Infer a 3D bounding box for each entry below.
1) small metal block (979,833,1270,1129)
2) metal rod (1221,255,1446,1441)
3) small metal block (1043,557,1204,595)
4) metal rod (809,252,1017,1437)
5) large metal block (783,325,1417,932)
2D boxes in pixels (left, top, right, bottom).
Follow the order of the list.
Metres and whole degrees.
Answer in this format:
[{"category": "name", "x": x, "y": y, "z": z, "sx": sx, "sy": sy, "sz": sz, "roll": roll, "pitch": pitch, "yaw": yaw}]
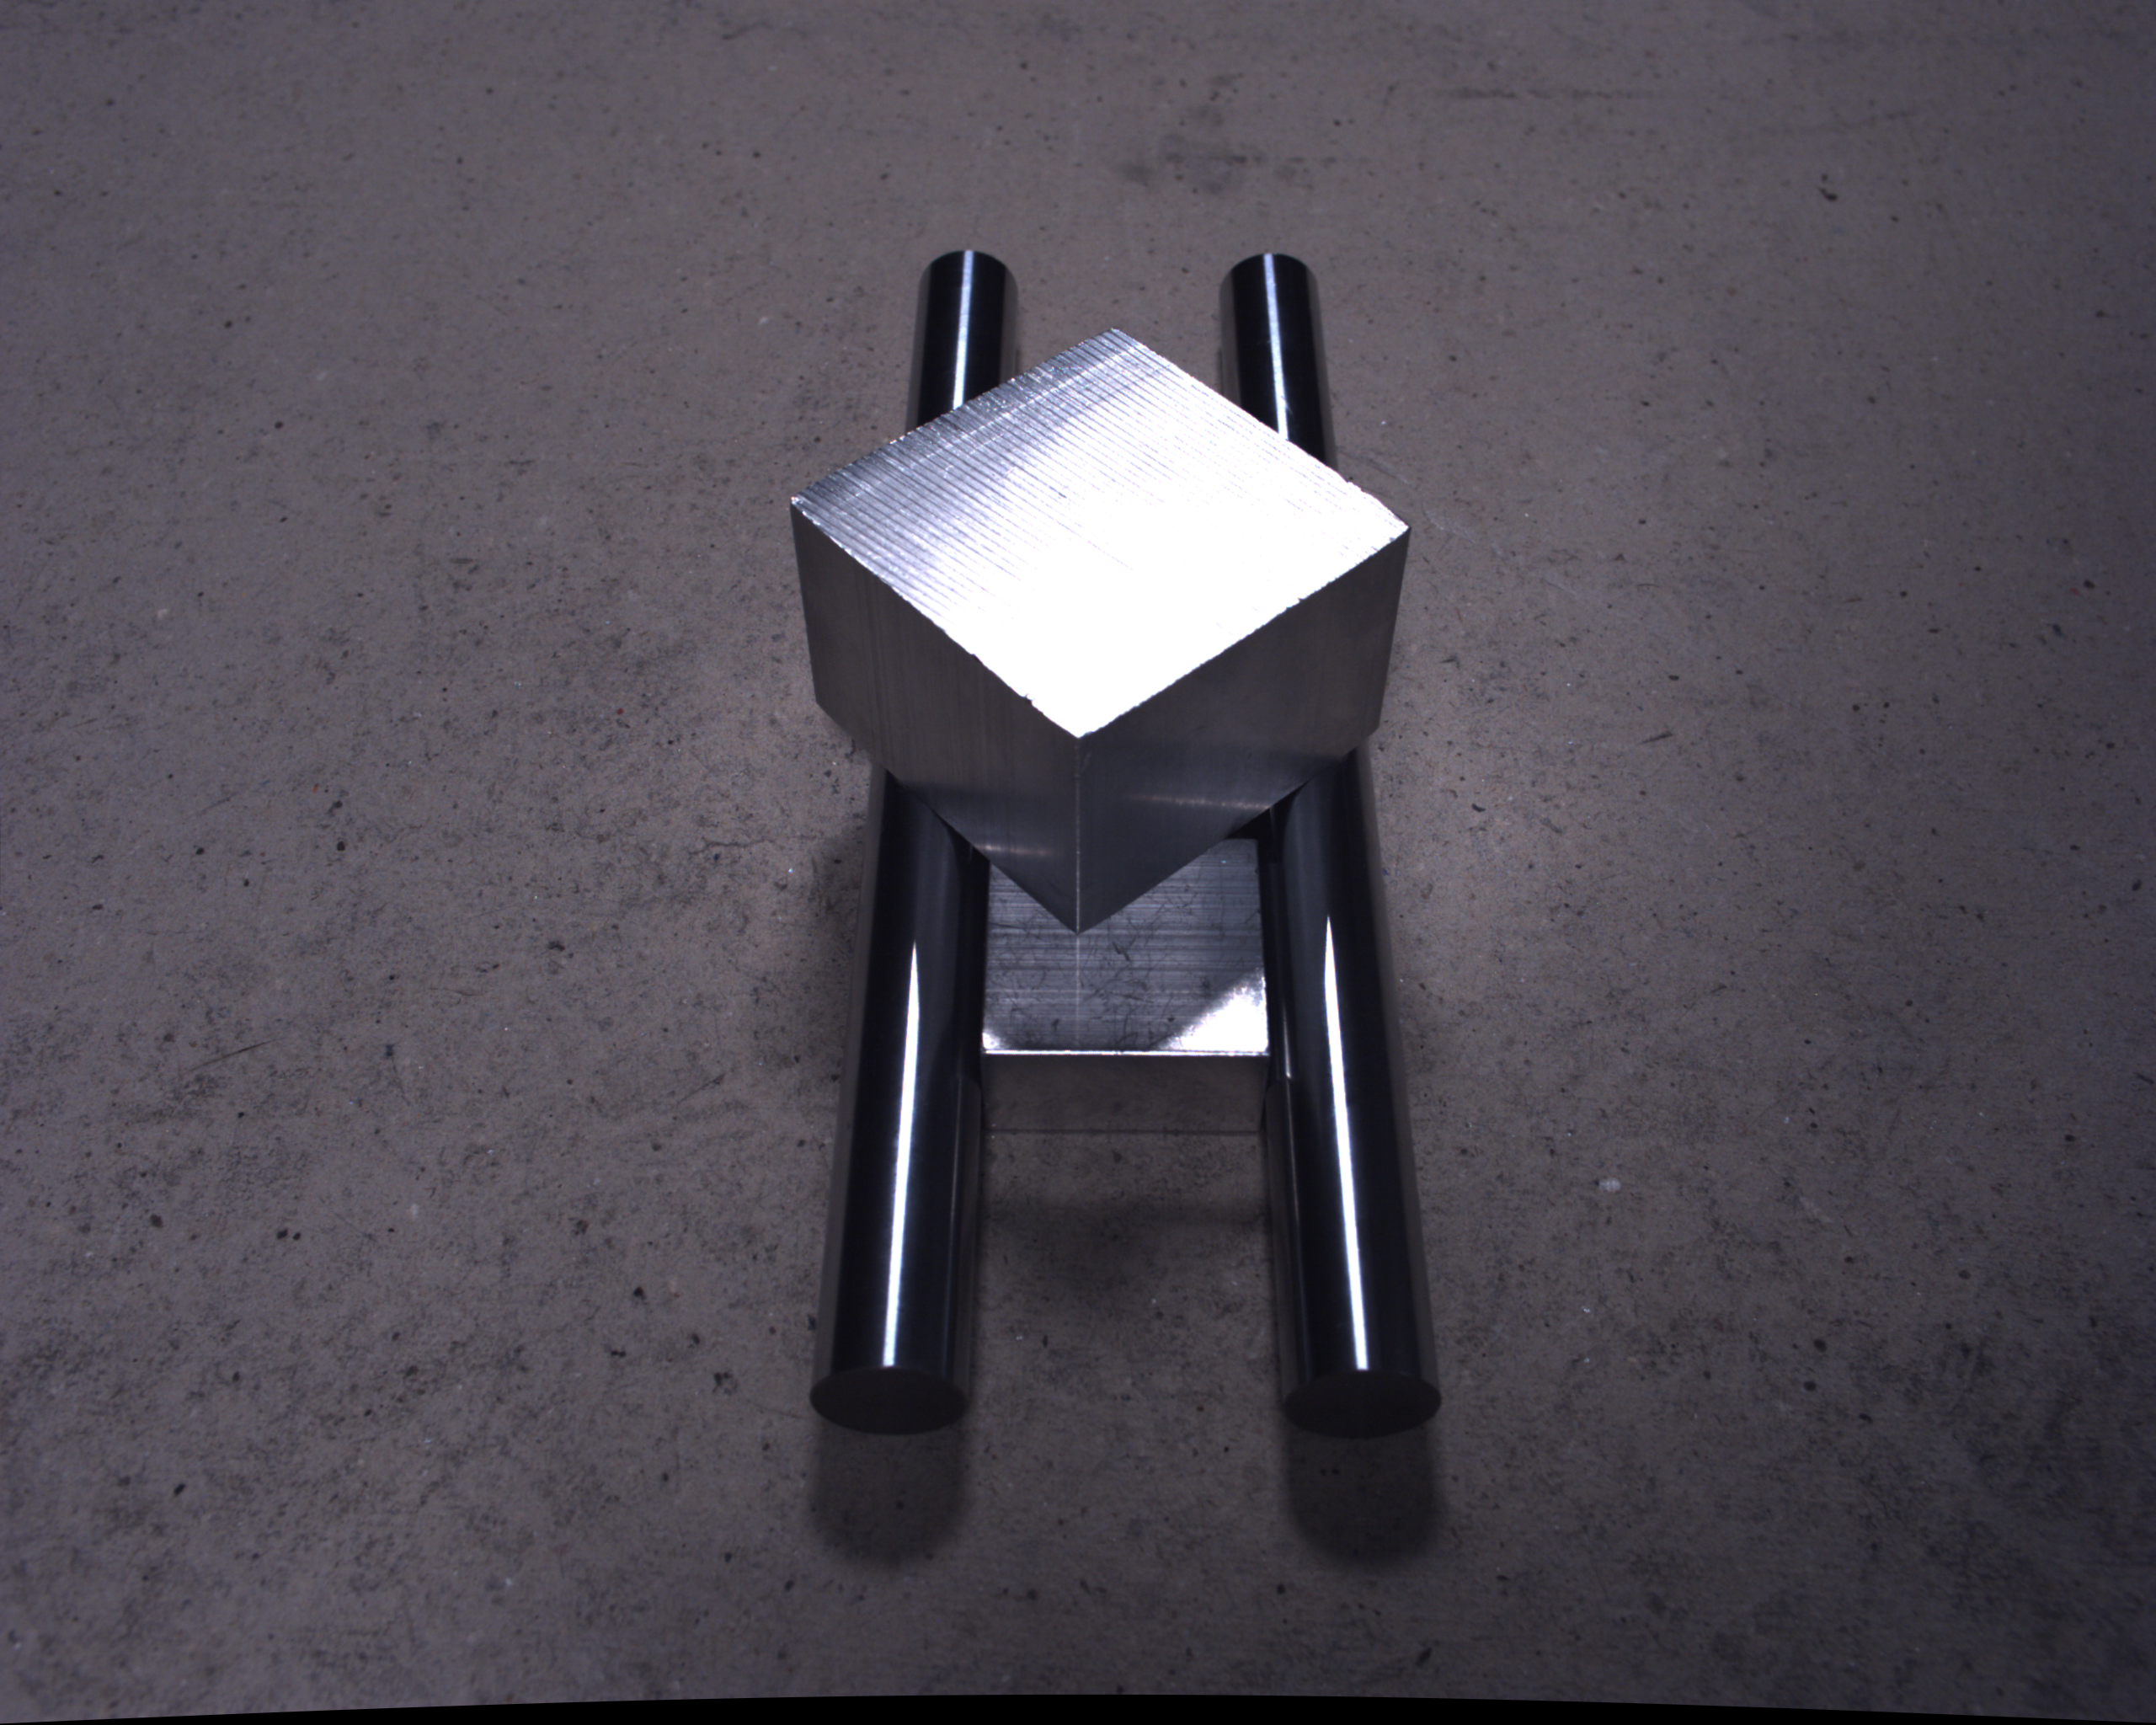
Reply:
[{"category": "small metal block", "x": 0.008, "y": 0.021, "z": 0.386, "sx": 0.050, "sy": 0.025, "sz": 0.050, "roll": 1, "pitch": 50, "yaw": 0}, {"category": "metal rod", "x": 0.047, "y": -0.028, "z": 0.429, "sx": 0.025, "sy": 0.025, "sz": 0.300, "roll": 1, "pitch": 50, "yaw": 0}, {"category": "small metal block", "x": 0.009, "y": -0.068, "z": 0.460, "sx": 0.050, "sy": 0.025, "sz": 0.050, "roll": 1, "pitch": 50, "yaw": 0}, {"category": "metal rod", "x": -0.029, "y": -0.028, "z": 0.429, "sx": 0.025, "sy": 0.025, "sz": 0.300, "roll": 1, "pitch": 50, "yaw": 0}, {"category": "large metal block", "x": 0.004, "y": -0.047, "z": 0.393, "sx": 0.080, "sy": 0.050, "sz": 0.080, "roll": -34, "pitch": 58, "yaw": -25}]
